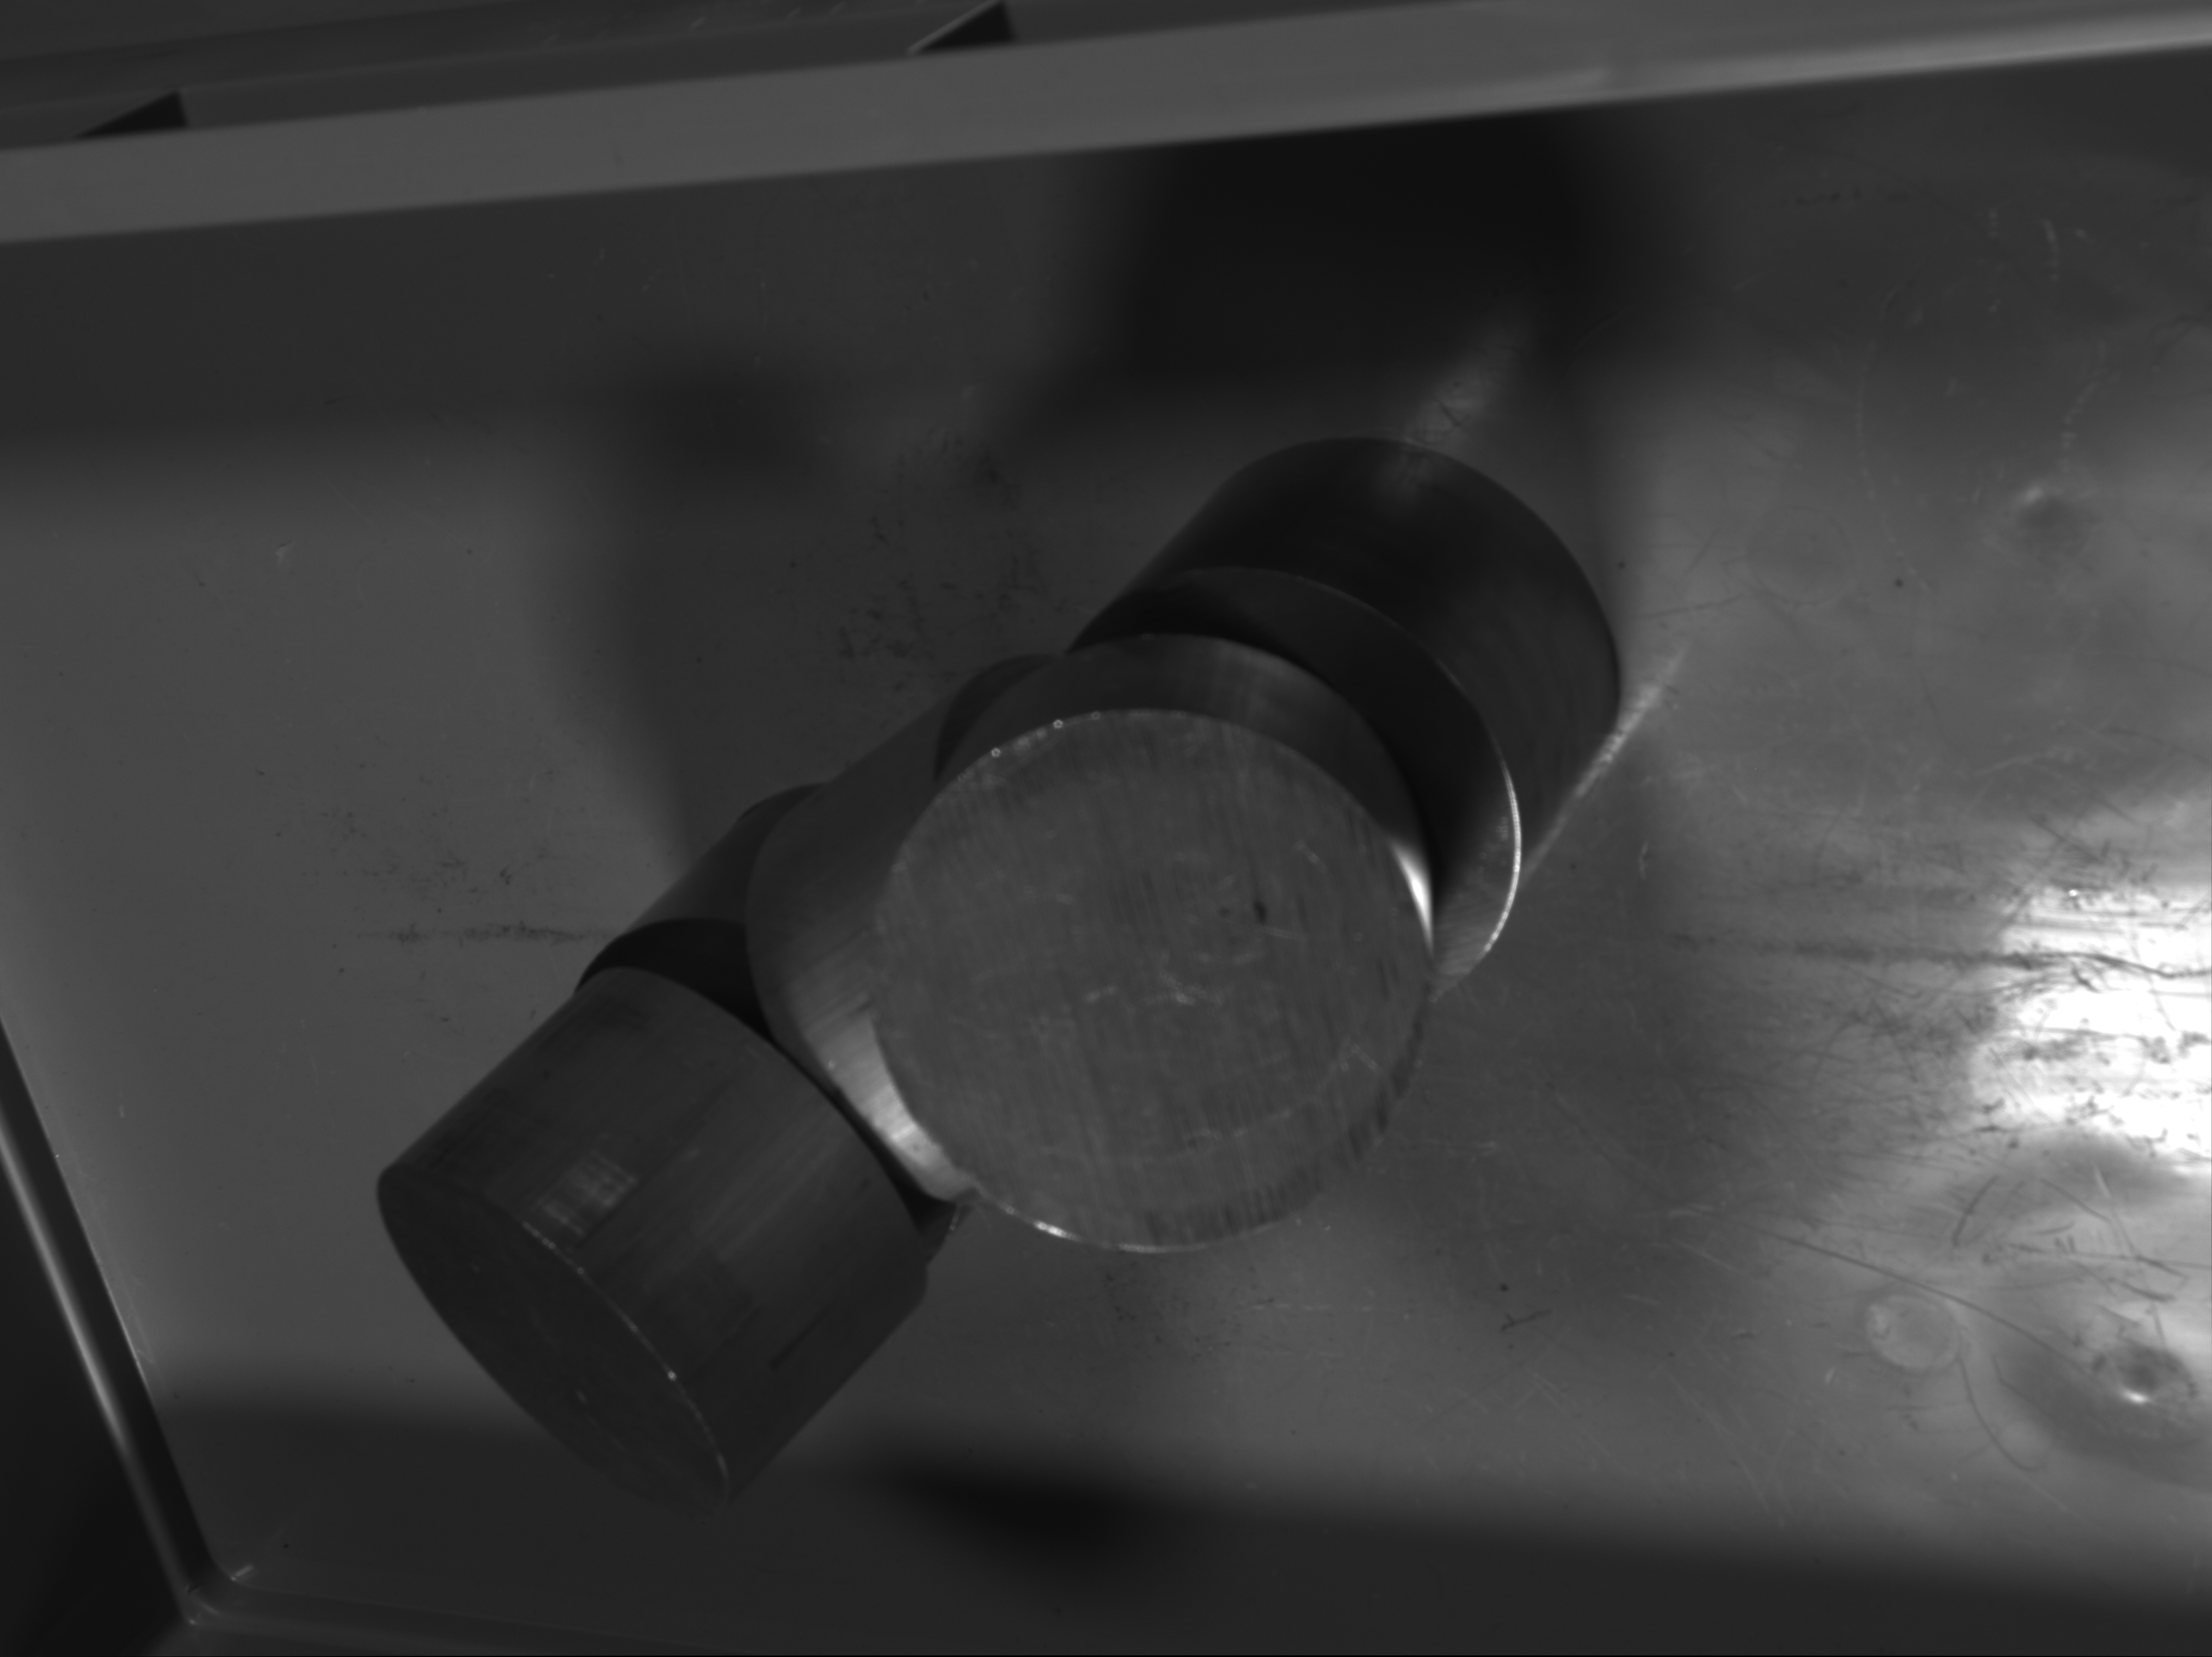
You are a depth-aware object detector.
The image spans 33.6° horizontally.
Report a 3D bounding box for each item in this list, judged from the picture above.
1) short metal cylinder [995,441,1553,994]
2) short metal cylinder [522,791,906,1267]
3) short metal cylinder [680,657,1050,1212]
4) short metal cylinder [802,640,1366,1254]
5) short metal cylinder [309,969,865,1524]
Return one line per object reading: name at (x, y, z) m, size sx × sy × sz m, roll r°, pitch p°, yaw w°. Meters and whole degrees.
short metal cylinder at (0.026, -0.016, 0.591) m, size 0.080 × 0.050 × 0.080 m, roll 12°, pitch 123°, yaw 20°
short metal cylinder at (-0.063, 0.040, 0.669) m, size 0.080 × 0.050 × 0.080 m, roll 12°, pitch 123°, yaw 20°
short metal cylinder at (-0.024, 0.018, 0.618) m, size 0.050 × 0.080 × 0.080 m, roll -33°, pitch 100°, yaw 37°
short metal cylinder at (-0.001, 0.016, 0.541) m, size 0.080 × 0.050 × 0.080 m, roll 1°, pitch 105°, yaw 4°
short metal cylinder at (-0.087, 0.070, 0.618) m, size 0.080 × 0.050 × 0.080 m, roll 32°, pitch 148°, yaw 22°
